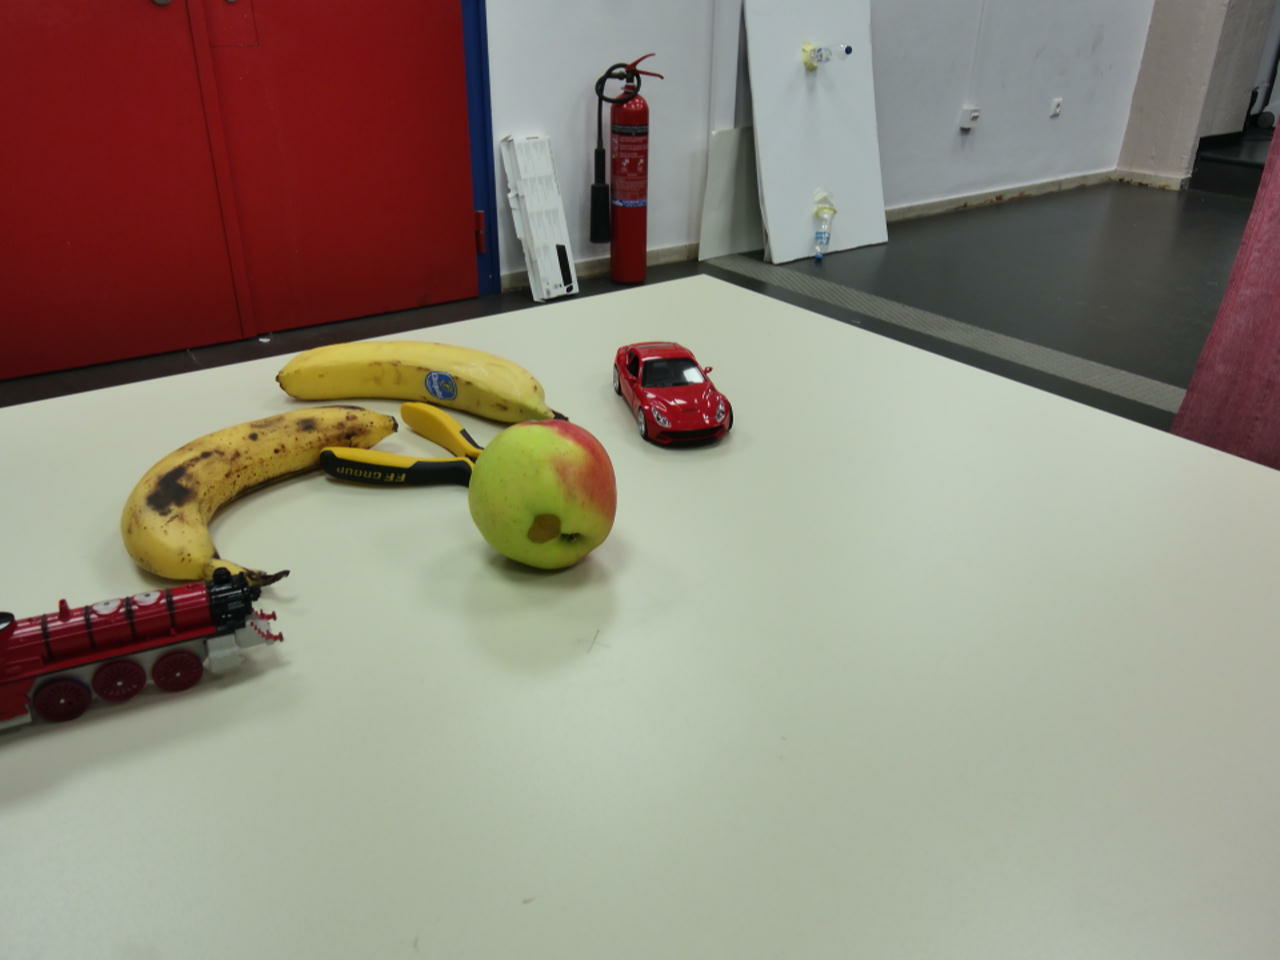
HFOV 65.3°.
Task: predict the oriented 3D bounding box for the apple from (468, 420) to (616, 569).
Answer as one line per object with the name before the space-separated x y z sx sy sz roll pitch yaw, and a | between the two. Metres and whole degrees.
apple | -0.047 0.006 0.507 0.075 0.074 0.075 16 29 29
